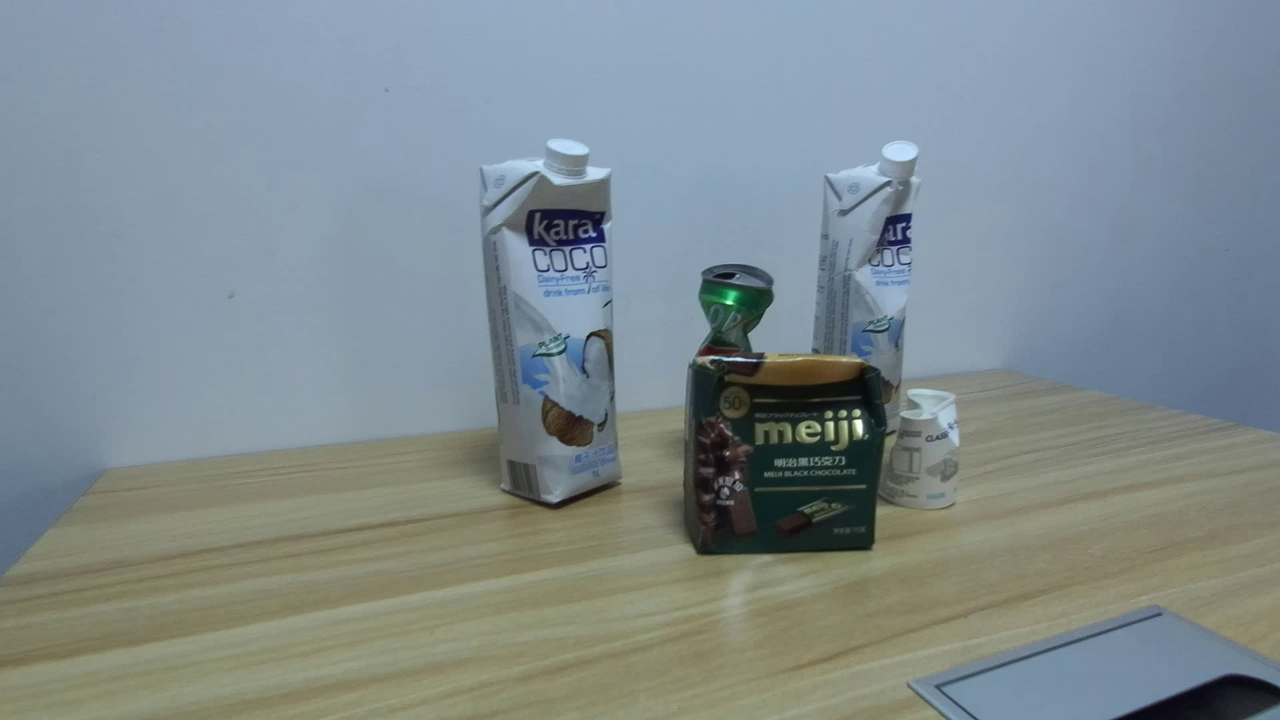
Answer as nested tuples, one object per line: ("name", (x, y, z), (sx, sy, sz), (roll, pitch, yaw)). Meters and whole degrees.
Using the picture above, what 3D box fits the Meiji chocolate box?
("Meiji chocolate box", (0.084, 0.061, 0.444), (0.113, 0.110, 0.058), (0, -3, -2))

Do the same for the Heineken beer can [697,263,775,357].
("Heineken beer can", (0.073, 0.004, 0.565), (0.067, 0.159, 0.078), (-10, 20, -22))

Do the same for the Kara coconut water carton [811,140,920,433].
("Kara coconut water carton", (0.197, -0.058, 0.625), (0.083, 0.255, 0.078), (-7, 15, -32))

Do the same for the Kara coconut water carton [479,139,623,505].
("Kara coconut water carton", (-0.059, -0.028, 0.504), (0.071, 0.244, 0.100), (7, 15, 42))
